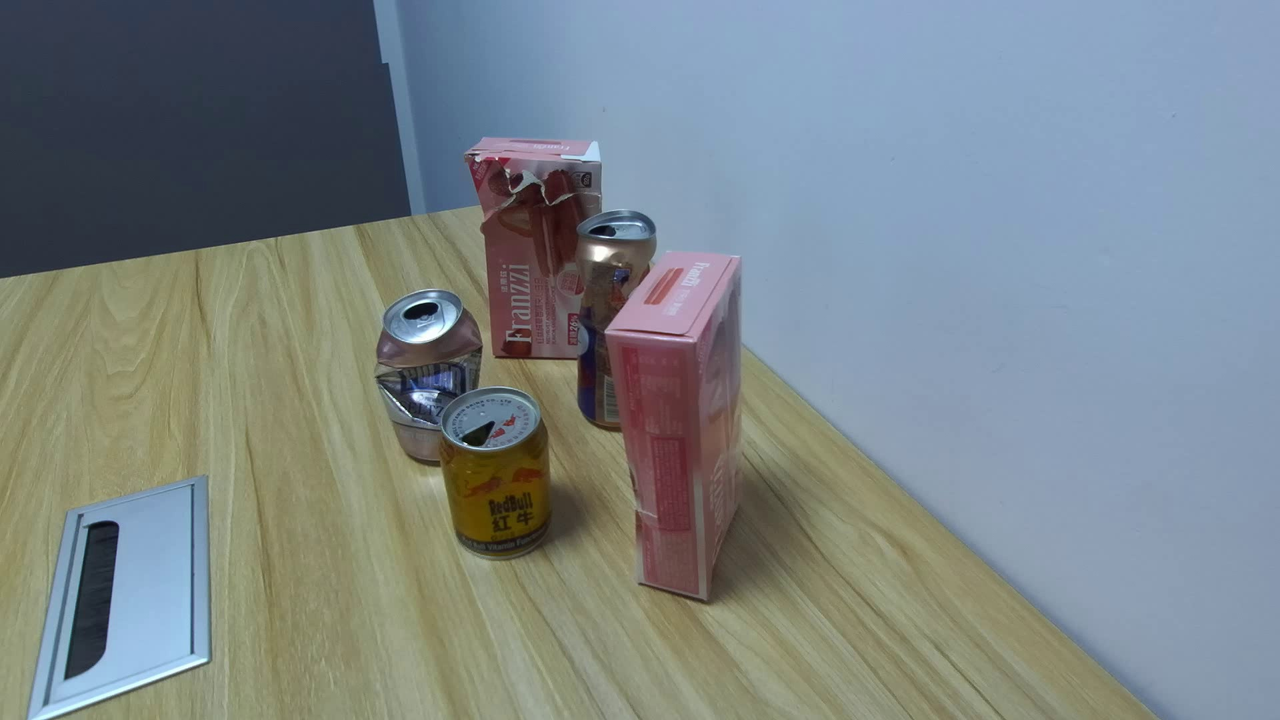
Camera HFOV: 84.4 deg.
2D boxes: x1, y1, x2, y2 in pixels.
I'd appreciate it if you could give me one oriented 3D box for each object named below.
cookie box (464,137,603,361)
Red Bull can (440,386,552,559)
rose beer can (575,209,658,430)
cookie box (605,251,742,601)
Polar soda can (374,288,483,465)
[{"bbox_3d":[-0.080,-0.085,0.590,0.105,0.186,0.059,3,32,3],"label":"cookie box"},{"bbox_3d":[-0.091,0.072,0.451,0.069,0.092,0.069,1,33,0],"label":"Red Bull can"},{"bbox_3d":[-0.017,-0.028,0.530,0.068,0.162,0.073,-10,30,-17],"label":"rose beer can"},{"bbox_3d":[0.027,0.044,0.413,0.048,0.188,0.105,6,34,18],"label":"cookie box"},{"bbox_3d":[-0.149,0.016,0.508,0.071,0.122,0.066,-20,42,-28],"label":"Polar soda can"}]
